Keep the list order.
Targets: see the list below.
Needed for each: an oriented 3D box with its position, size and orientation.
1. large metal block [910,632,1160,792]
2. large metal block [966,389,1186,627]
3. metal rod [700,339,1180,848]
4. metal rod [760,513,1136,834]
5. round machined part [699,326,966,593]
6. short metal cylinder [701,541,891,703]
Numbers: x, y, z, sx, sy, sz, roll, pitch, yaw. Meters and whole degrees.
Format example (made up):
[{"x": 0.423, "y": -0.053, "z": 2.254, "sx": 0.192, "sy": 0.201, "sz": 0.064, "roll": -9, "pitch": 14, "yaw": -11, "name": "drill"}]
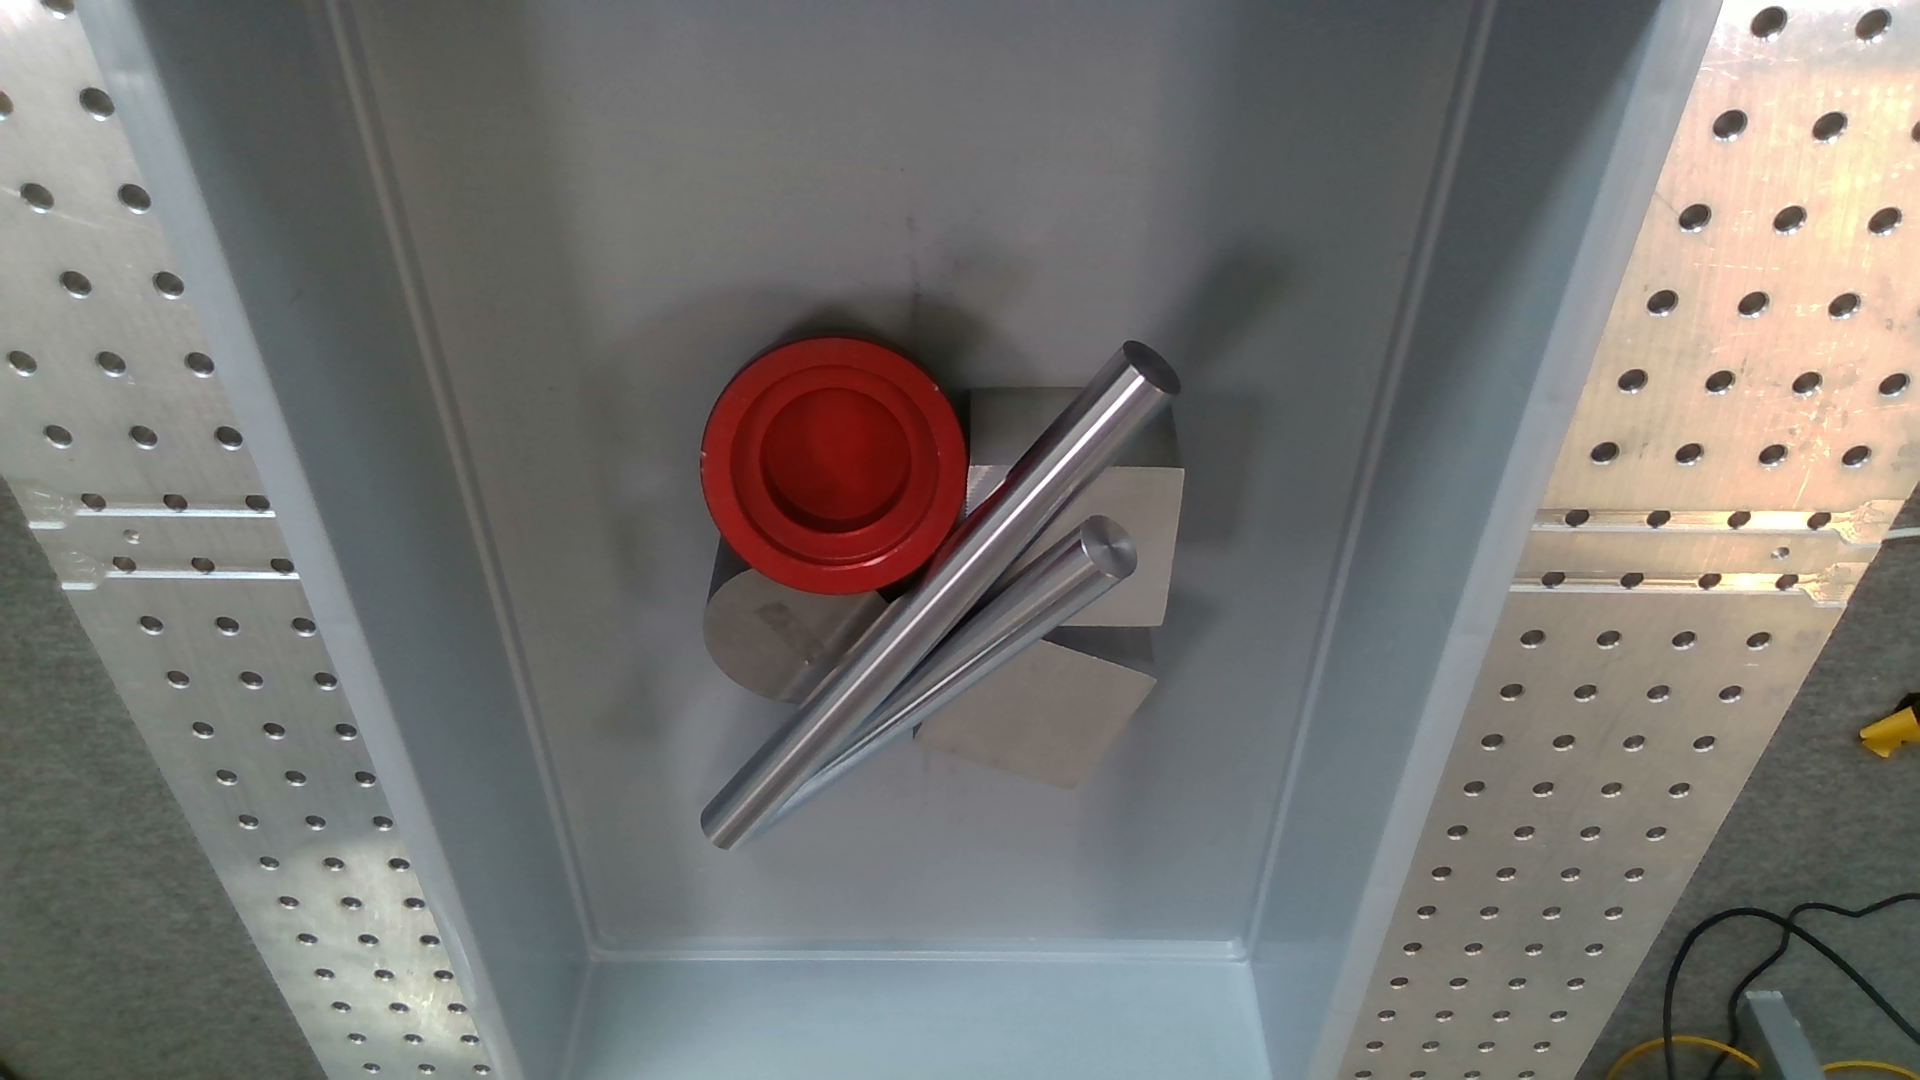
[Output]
[{"x": 0.031, "y": 0.058, "z": 0.609, "sx": 0.080, "sy": 0.050, "sz": 0.080, "roll": 19, "pitch": 127, "yaw": -15, "name": "large metal block"}, {"x": 0.042, "y": -0.012, "z": 0.548, "sx": 0.080, "sy": 0.050, "sz": 0.080, "roll": 1, "pitch": 130, "yaw": 0, "name": "large metal block"}, {"x": -0.021, "y": 0.035, "z": 0.541, "sx": 0.025, "sy": 0.025, "sz": 0.301, "roll": 28, "pitch": 126, "yaw": -21, "name": "metal rod"}, {"x": -0.029, "y": 0.071, "z": 0.589, "sx": 0.025, "sy": 0.025, "sz": 0.301, "roll": 27, "pitch": 139, "yaw": -21, "name": "metal rod"}, {"x": -0.048, "y": -0.033, "z": 0.525, "sx": 0.098, "sy": 0.042, "sz": 0.098, "roll": -1, "pitch": 107, "yaw": -3, "name": "round machined part"}, {"x": -0.065, "y": 0.023, "z": 0.580, "sx": 0.080, "sy": 0.050, "sz": 0.080, "roll": 0, "pitch": 130, "yaw": 0, "name": "short metal cylinder"}]
